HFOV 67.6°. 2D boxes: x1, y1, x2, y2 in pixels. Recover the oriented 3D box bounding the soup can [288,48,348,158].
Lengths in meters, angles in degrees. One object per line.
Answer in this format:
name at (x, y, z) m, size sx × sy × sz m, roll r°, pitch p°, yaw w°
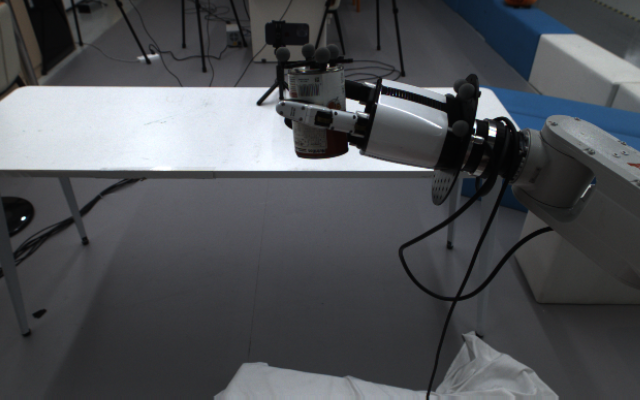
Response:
soup can at (-0.001, -0.107, 0.580) m, size 0.067 × 0.101 × 0.067 m, roll -4°, pitch 21°, yaw 1°
